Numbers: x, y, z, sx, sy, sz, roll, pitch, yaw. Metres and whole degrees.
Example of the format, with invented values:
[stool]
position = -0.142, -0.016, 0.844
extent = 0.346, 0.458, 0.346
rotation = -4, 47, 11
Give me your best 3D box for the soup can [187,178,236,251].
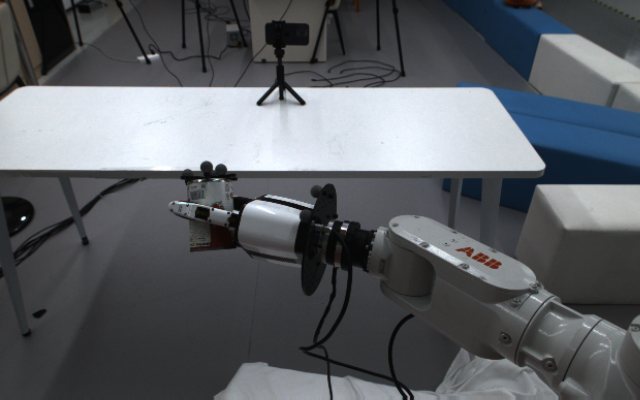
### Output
[soup can]
position = -0.158, 0.025, 0.710
extent = 0.067, 0.101, 0.067
rotation = -5, -5, 0
